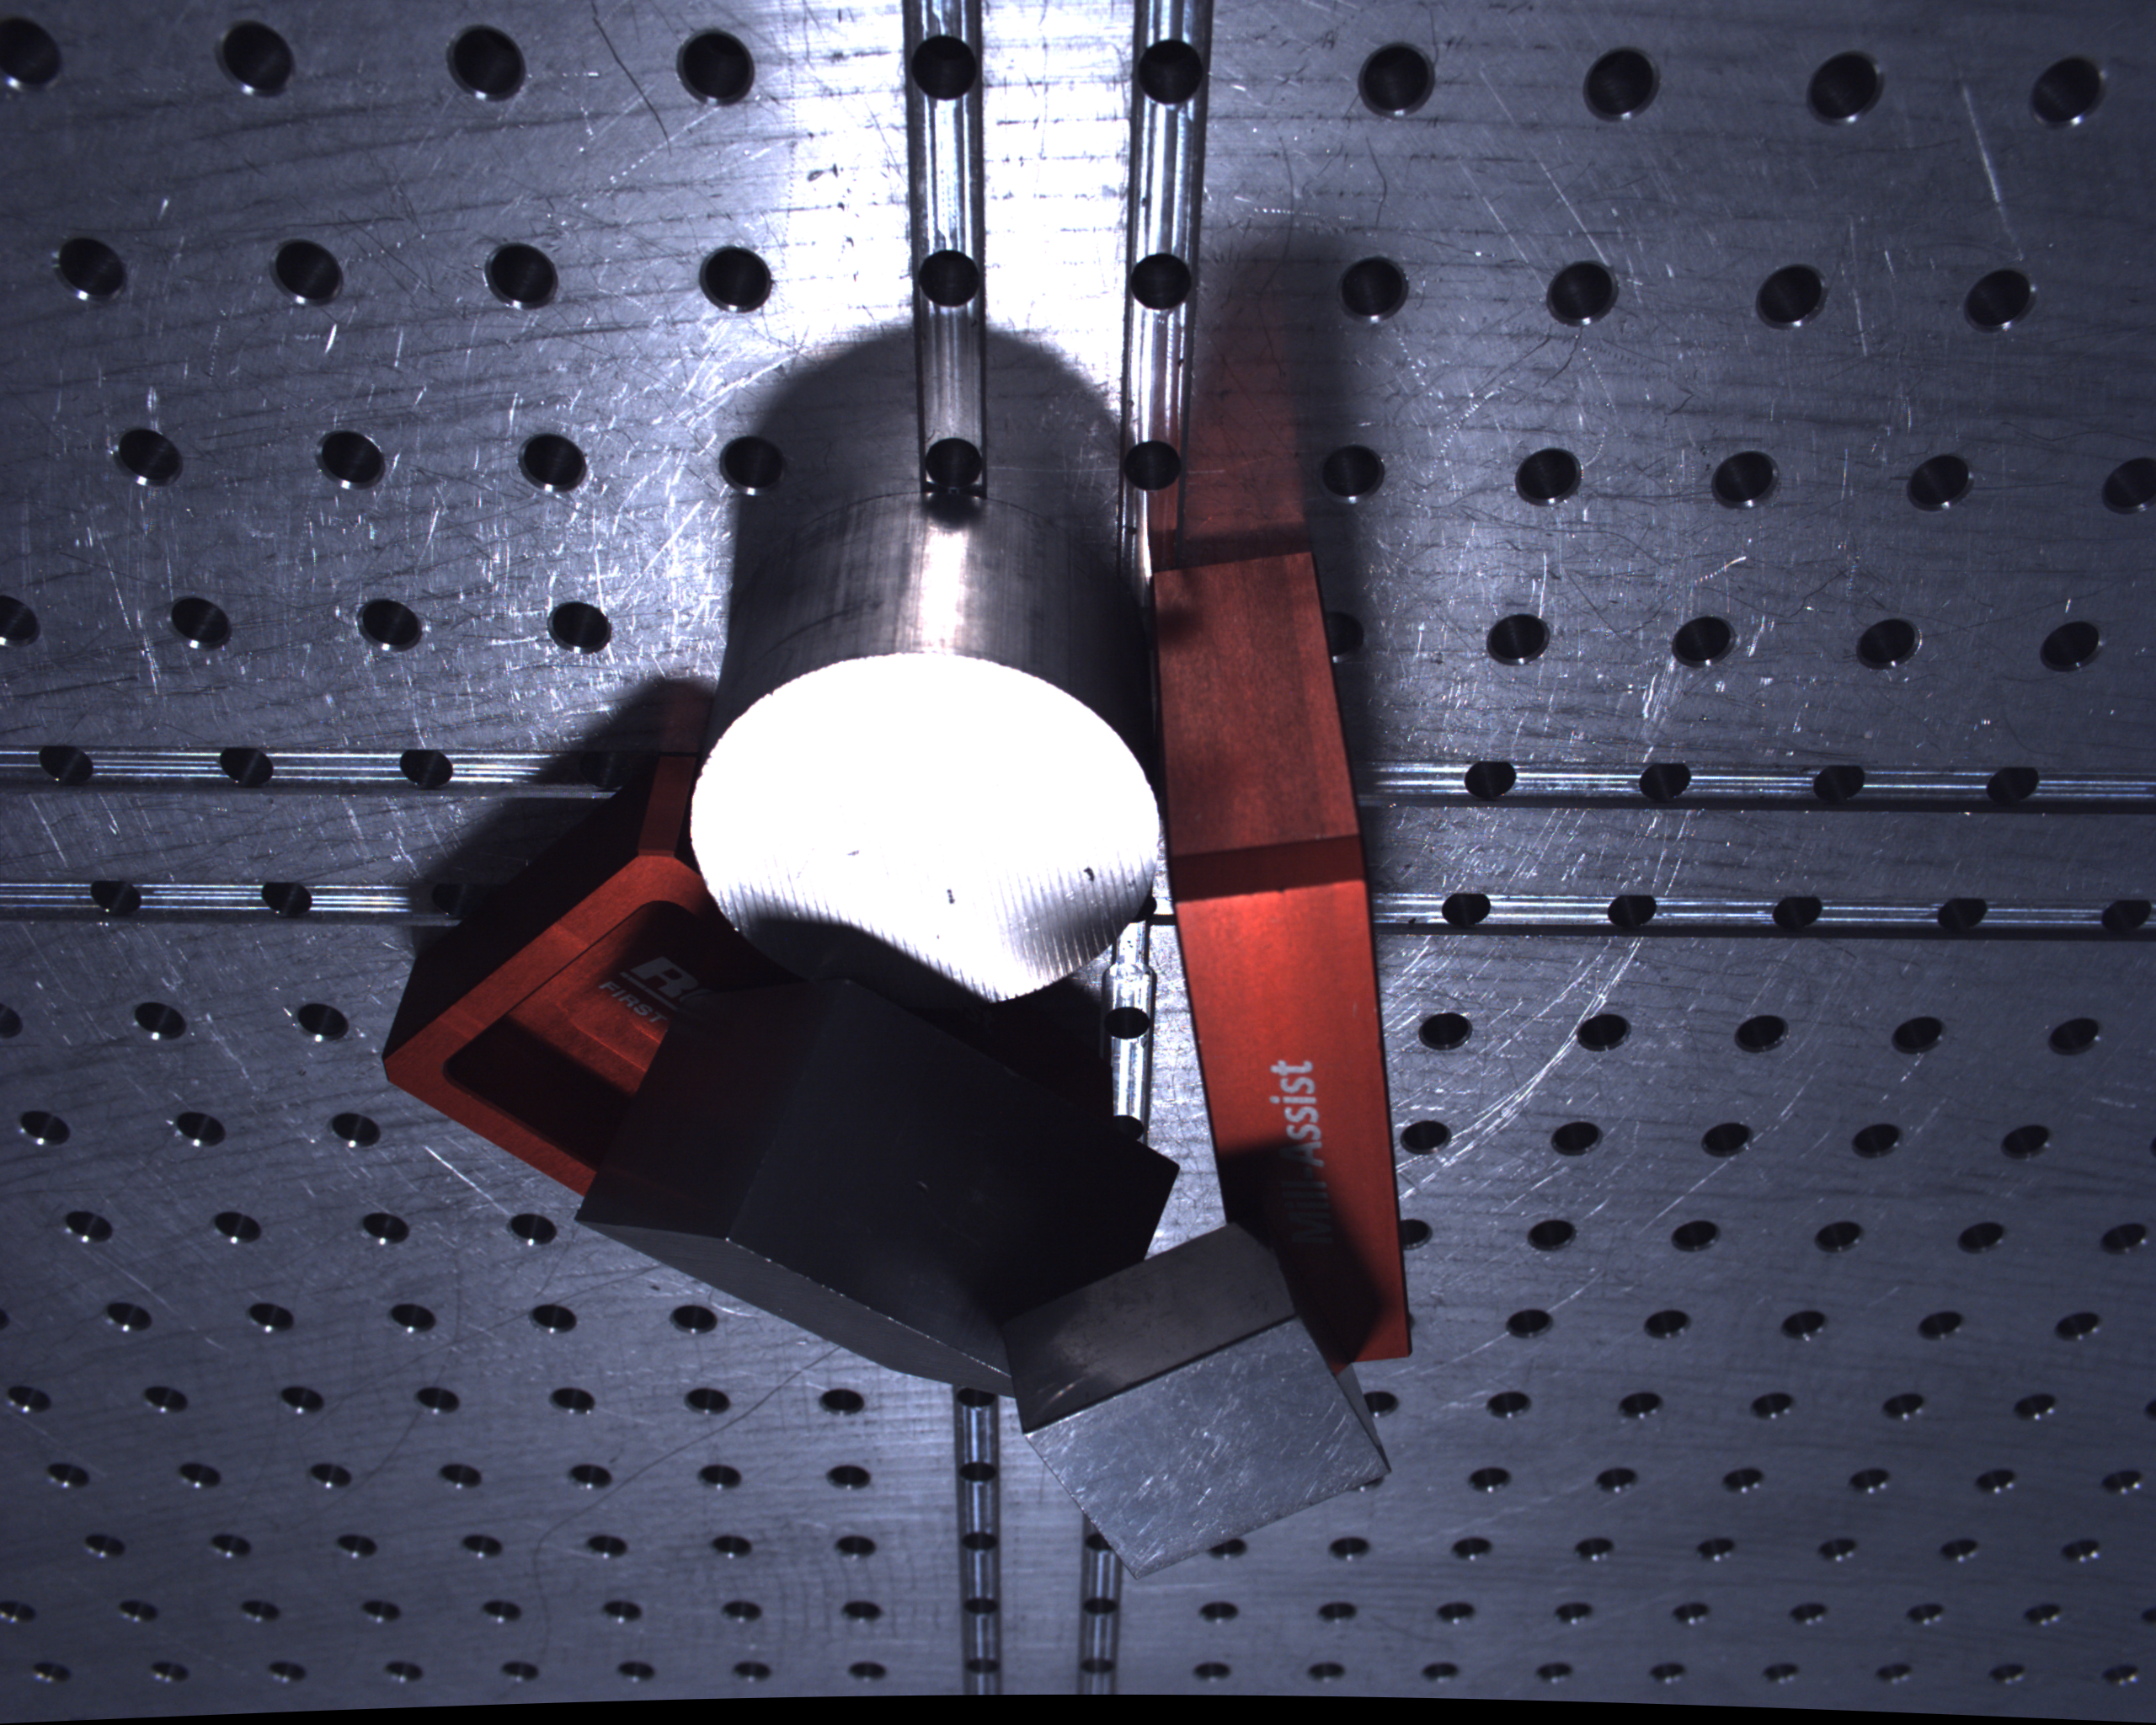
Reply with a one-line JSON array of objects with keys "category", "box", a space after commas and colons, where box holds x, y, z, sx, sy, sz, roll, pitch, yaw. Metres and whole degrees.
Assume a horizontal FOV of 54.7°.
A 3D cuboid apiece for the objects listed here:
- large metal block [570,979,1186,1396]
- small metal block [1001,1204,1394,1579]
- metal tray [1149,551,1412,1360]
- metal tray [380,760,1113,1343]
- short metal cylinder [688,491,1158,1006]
[{"category": "large metal block", "box": [-0.040, 0.065, 0.409, 0.080, 0.050, 0.080, 32, 159, -25]}, {"category": "small metal block", "box": [0.021, 0.094, 0.368, 0.050, 0.025, 0.050, -25, 127, 6]}, {"category": "metal tray", "box": [0.038, 0.020, 0.387, 0.030, 0.090, 0.129, -7, 130, 6]}, {"category": "metal tray", "box": [-0.067, 0.045, 0.445, 0.090, 0.030, 0.130, -36, 122, 26]}, {"category": "short metal cylinder", "box": [-0.027, -0.020, 0.378, 0.081, 0.050, 0.079, 0, 130, 0]}]
